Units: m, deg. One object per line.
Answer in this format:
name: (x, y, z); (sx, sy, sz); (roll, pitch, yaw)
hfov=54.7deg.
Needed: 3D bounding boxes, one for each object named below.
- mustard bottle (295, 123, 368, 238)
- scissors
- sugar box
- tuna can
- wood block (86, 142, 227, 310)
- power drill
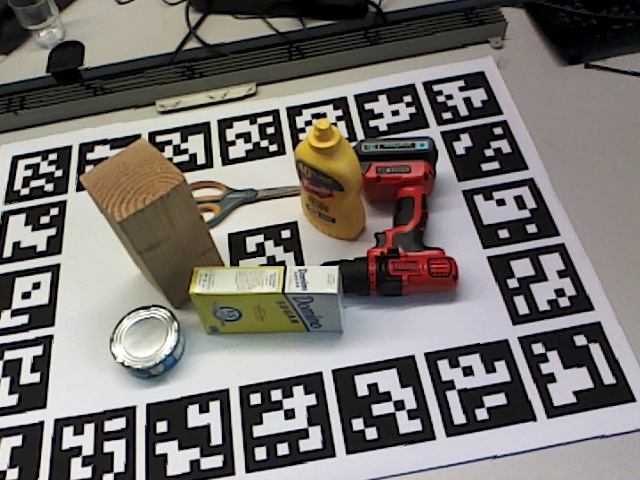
mustard bottle: (0.013, -0.081, 0.802); (0.097, 0.191, 0.058); (34, 68, 24)
scissors: (-0.125, -0.063, 0.902); (0.203, 0.016, 0.088); (-9, 53, 1)
sugar box: (-0.053, 0.073, 0.762); (0.176, 0.092, 0.045); (0, 54, 5)
tuna can: (-0.212, 0.125, 0.778); (0.086, 0.033, 0.086); (-3, 58, 4)
wood block: (-0.196, -0.011, 0.777); (0.091, 0.205, 0.090); (-36, 61, -15)
power drill: (0.074, -0.017, 0.822); (0.185, 0.057, 0.187); (0, 64, 8)
